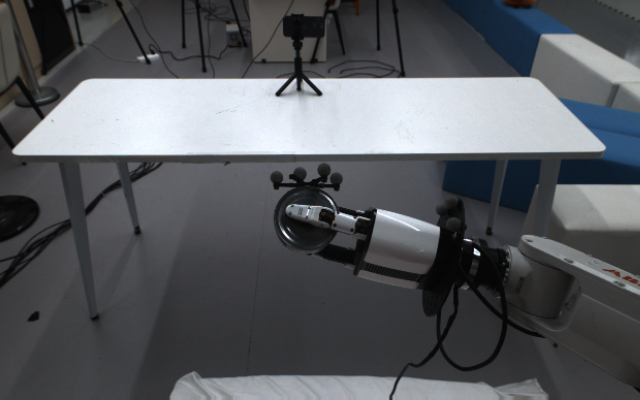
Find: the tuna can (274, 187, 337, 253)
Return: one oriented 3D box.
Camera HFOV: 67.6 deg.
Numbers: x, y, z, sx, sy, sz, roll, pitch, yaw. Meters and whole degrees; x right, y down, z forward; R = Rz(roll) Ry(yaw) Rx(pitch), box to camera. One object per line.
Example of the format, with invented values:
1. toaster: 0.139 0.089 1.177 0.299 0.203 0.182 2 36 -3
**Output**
1. tuna can: -0.015 0.030 0.625 0.085 0.034 0.085 1 70 -4
